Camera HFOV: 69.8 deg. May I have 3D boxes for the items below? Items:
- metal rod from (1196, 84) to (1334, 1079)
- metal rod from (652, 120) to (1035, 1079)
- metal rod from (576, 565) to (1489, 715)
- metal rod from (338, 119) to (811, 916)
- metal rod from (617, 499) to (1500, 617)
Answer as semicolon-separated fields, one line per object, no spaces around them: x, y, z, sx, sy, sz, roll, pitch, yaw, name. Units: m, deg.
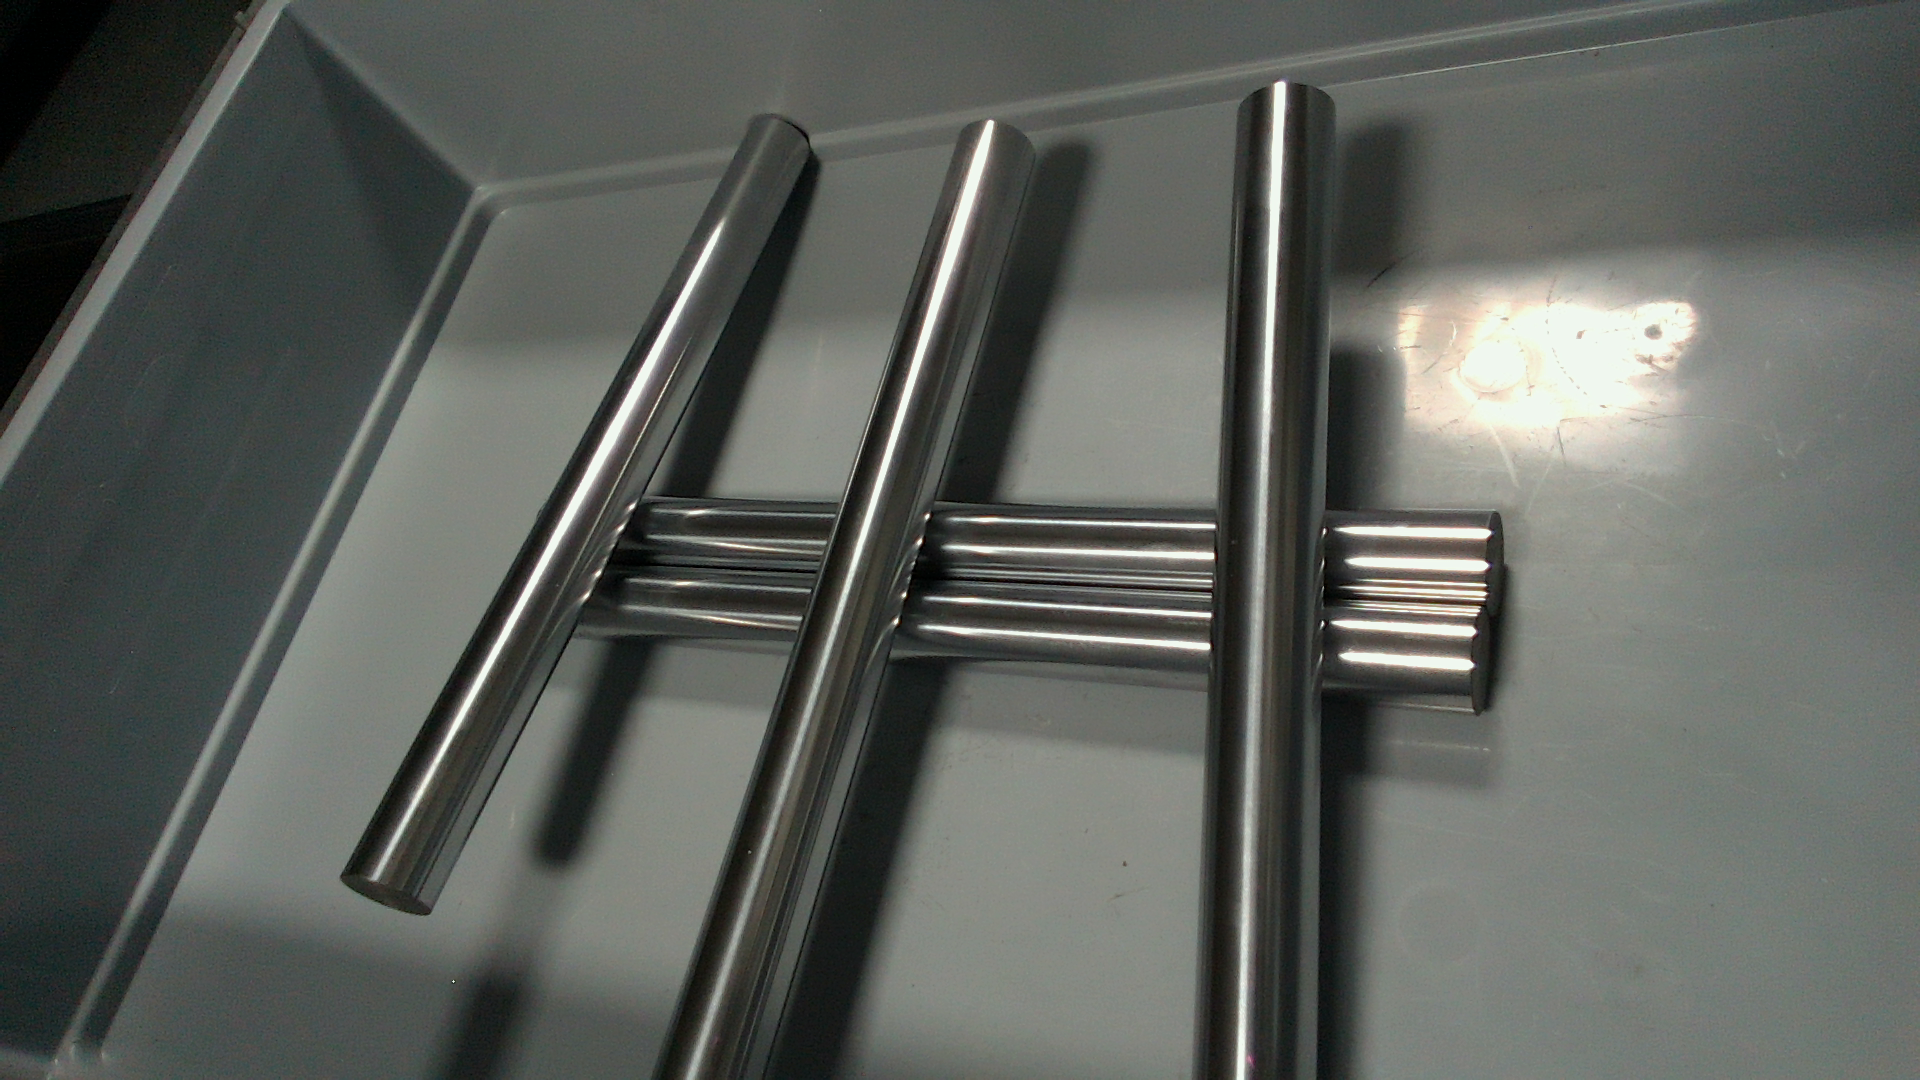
0.069;0.030;0.307;0.025;0.025;0.300;-4;68;27;metal rod
-0.026;0.010;0.368;0.025;0.025;0.300;1;62;29;metal rod
-0.012;0.023;0.385;0.299;0.025;0.025;2;62;29;metal rod
-0.109;-0.028;0.438;0.025;0.025;0.300;-1;53;28;metal rod
-0.005;0.002;0.395;0.299;0.025;0.025;2;62;29;metal rod
